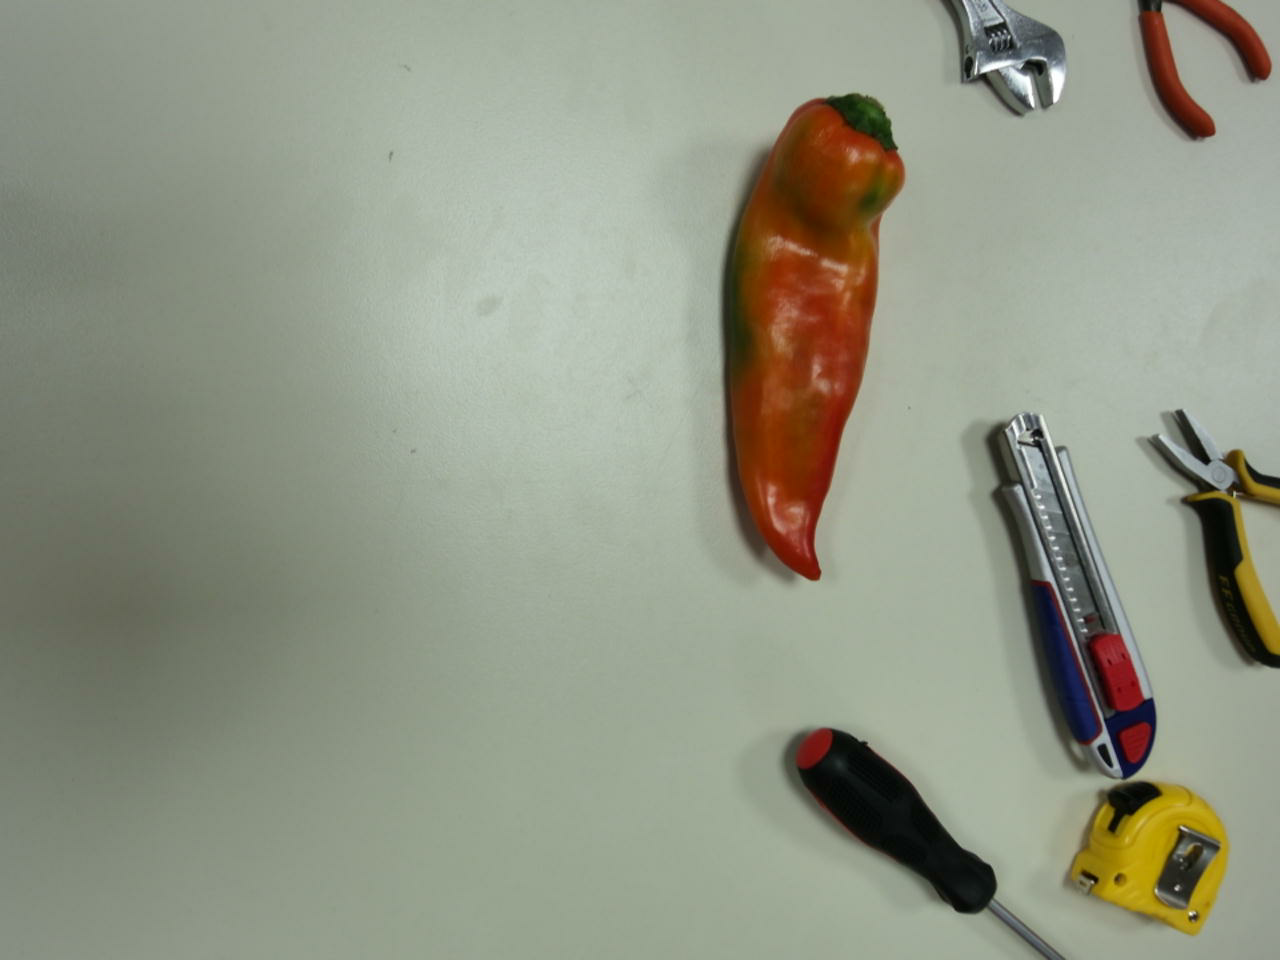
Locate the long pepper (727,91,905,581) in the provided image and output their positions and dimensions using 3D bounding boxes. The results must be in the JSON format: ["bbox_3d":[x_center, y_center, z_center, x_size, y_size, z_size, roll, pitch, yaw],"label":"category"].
[{"bbox_3d":[0.074,-0.058,0.418,0.066,0.065,0.199,5,90,-11],"label":"long pepper"}]
